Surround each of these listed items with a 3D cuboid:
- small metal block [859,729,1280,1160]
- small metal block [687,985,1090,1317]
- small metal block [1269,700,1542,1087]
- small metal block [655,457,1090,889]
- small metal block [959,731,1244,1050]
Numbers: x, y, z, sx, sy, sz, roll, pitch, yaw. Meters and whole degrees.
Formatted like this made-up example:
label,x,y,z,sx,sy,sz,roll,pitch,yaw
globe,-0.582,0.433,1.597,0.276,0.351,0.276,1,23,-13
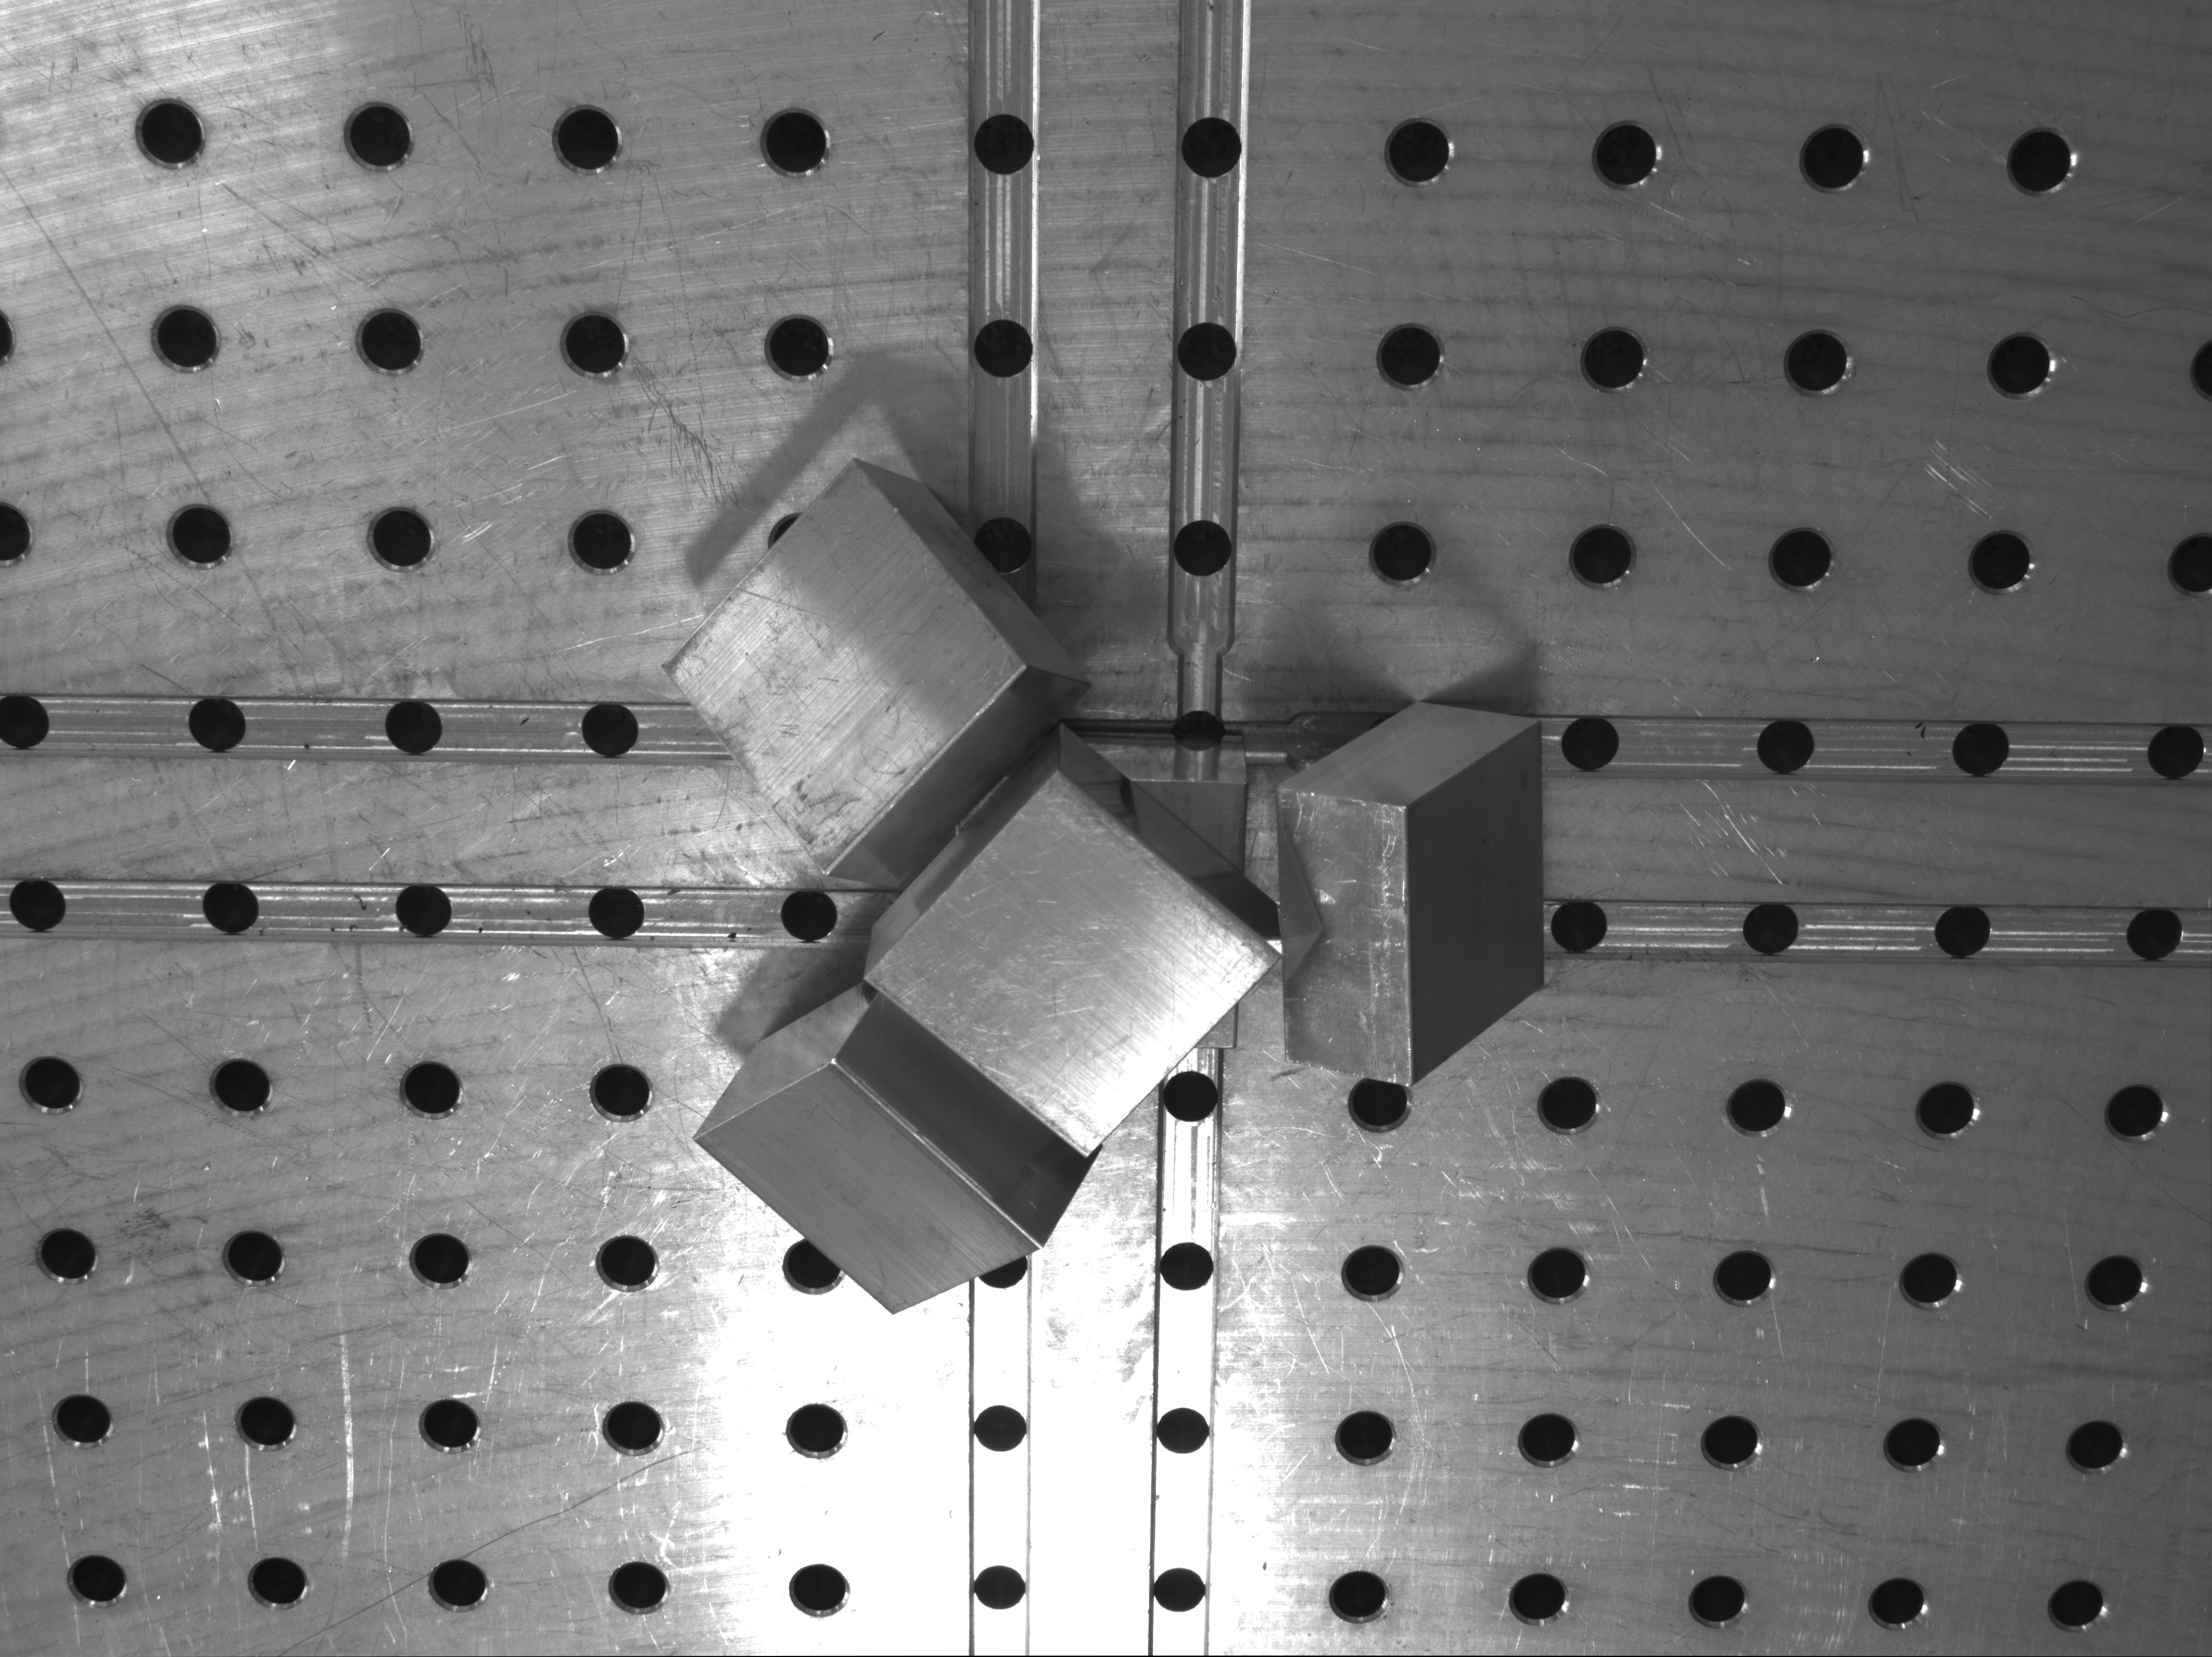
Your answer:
label,x,y,z,sx,sy,sz,roll,pitch,yaw
small metal block,-0.006,0.019,0.627,0.050,0.025,0.050,39,105,-13
small metal block,-0.038,0.056,0.653,0.050,0.025,0.050,43,142,-14
small metal block,0.053,0.010,0.634,0.025,0.050,0.050,10,114,32
small metal block,-0.040,-0.026,0.624,0.050,0.025,0.050,-45,68,14
small metal block,-0.002,0.011,0.651,0.050,0.025,0.050,1,113,0
